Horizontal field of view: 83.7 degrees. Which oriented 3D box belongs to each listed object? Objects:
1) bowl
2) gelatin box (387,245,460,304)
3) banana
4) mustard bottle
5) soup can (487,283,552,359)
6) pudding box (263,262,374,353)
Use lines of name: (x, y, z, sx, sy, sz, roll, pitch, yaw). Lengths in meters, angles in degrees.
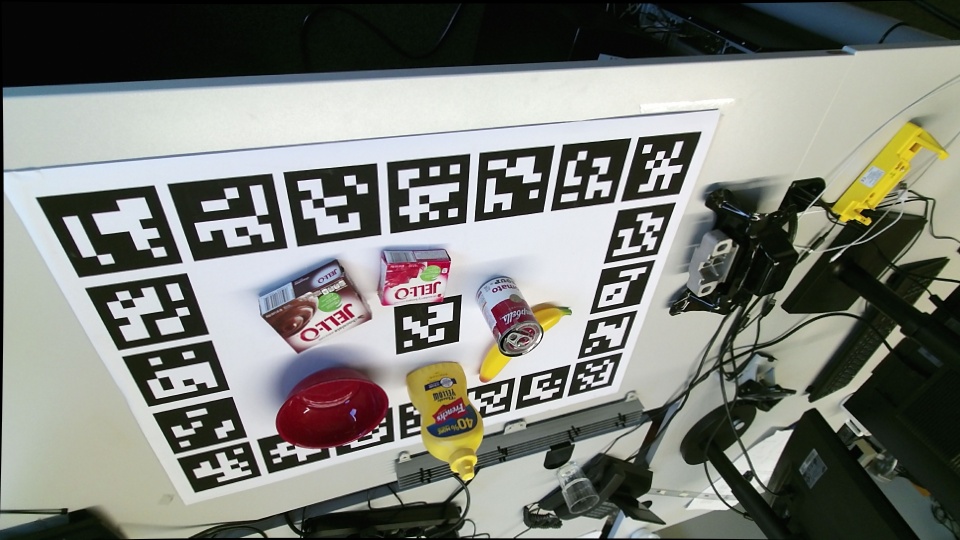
bowl: (-0.224, 0.204, 0.805, 0.162, 0.055, 0.162, -14, 133, -16)
gelatin box: (-0.077, 0.006, 0.721, 0.090, 0.030, 0.073, -4, 126, -23)
banana: (0.075, 0.132, 0.892, 0.197, 0.038, 0.074, -45, 142, 15)
mustard bottle: (-0.037, 0.240, 0.810, 0.096, 0.190, 0.058, -9, 133, -18)
soup can: (0.058, 0.075, 0.780, 0.068, 0.101, 0.068, -12, 133, -13)
pudding box: (-0.205, 0.052, 0.694, 0.114, 0.038, 0.090, -28, 128, -2)
